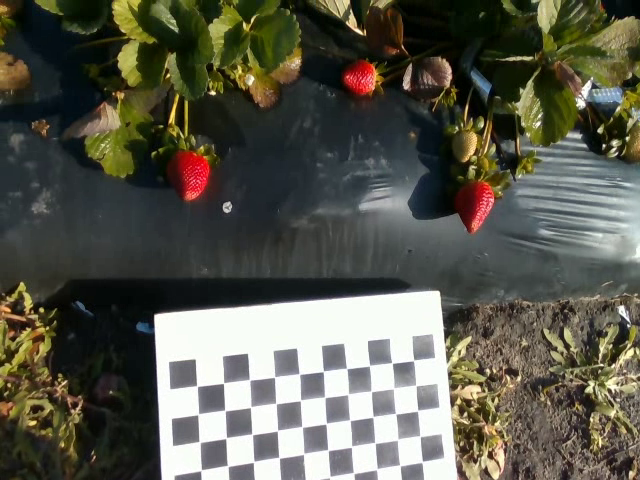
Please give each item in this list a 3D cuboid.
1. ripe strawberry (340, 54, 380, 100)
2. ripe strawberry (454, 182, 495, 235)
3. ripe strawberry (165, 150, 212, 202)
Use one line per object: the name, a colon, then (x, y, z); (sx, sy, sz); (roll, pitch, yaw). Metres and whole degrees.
ripe strawberry: (0.035, -0.154, 0.923); (0.046, 0.035, 0.035); (-3, -5, -32)
ripe strawberry: (0.144, -0.029, 0.928); (0.042, 0.059, 0.042); (22, -24, -24)
ripe strawberry: (-0.111, -0.053, 0.857); (0.045, 0.055, 0.042); (7, -39, -27)
